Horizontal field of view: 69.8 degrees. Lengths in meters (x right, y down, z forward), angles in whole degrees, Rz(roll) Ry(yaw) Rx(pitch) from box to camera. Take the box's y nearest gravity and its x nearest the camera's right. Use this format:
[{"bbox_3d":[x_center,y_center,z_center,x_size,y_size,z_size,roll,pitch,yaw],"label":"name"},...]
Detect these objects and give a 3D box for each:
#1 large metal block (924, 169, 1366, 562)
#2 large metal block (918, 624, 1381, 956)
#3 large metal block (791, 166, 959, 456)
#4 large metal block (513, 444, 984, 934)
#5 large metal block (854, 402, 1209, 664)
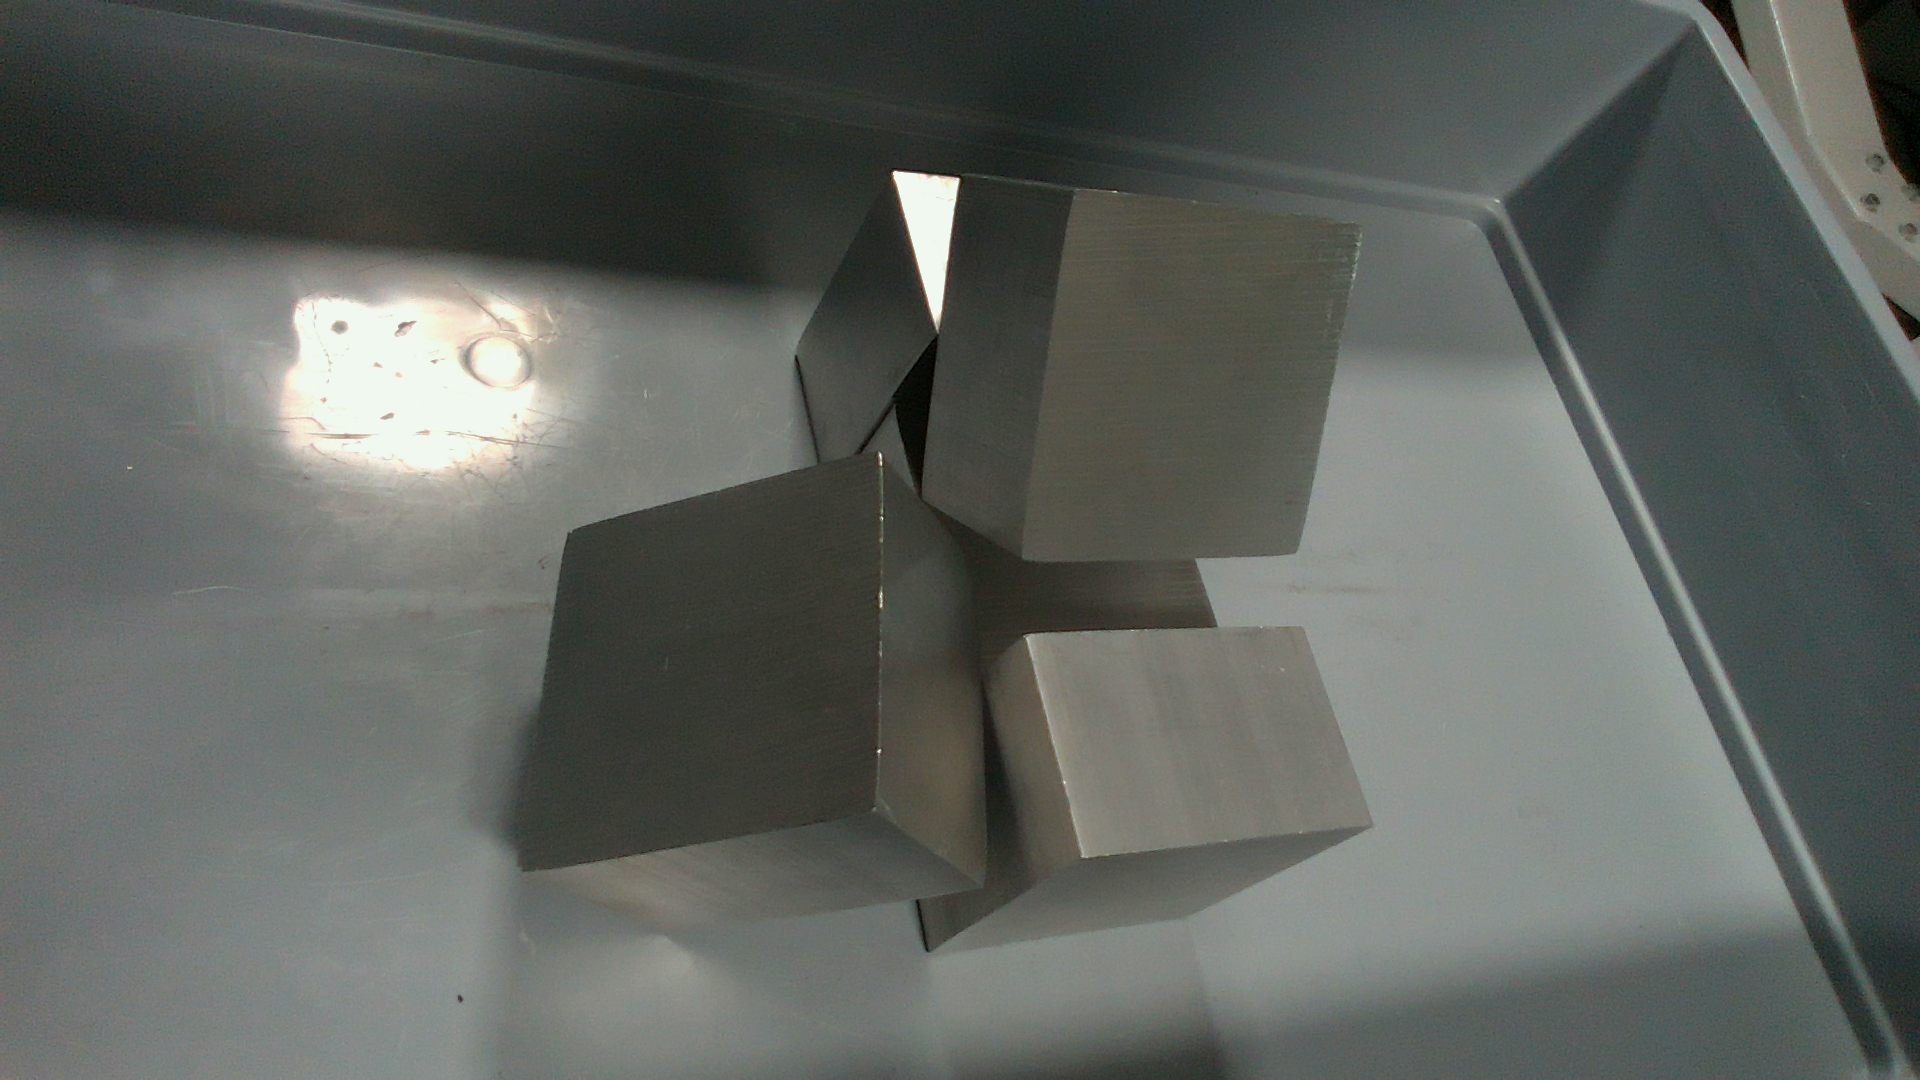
[{"bbox_3d":[0.042,-0.041,0.328,0.080,0.080,0.050,-1,17,-29],"label":"large metal block"},{"bbox_3d":[0.038,0.061,0.335,0.080,0.080,0.050,0,61,-28],"label":"large metal block"},{"bbox_3d":[0.007,-0.055,0.389,0.080,0.080,0.050,-1,62,-29],"label":"large metal block"},{"bbox_3d":[-0.042,0.035,0.298,0.050,0.080,0.080,50,32,-53],"label":"large metal block"},{"bbox_3d":[0.015,0.011,0.375,0.080,0.050,0.080,-1,62,-29],"label":"large metal block"}]
